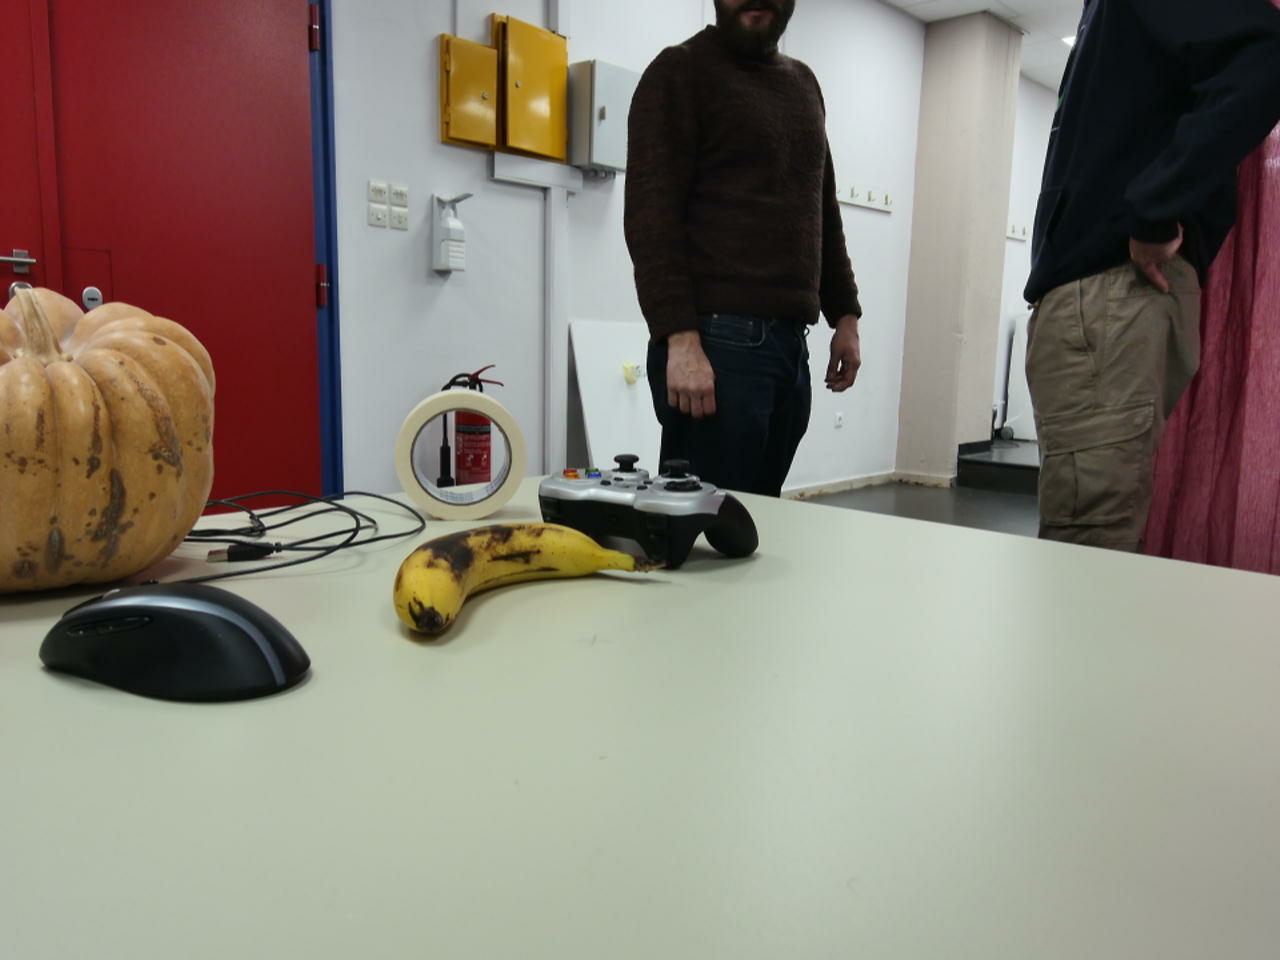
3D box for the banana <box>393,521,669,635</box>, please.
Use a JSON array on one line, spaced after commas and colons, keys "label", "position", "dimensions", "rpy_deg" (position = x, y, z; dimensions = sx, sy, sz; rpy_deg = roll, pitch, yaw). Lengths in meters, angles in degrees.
[{"label": "banana", "position": [-0.079, 0.052, 0.592], "dimensions": [0.094, 0.039, 0.187], "rpy_deg": [6, 9, 40]}]
